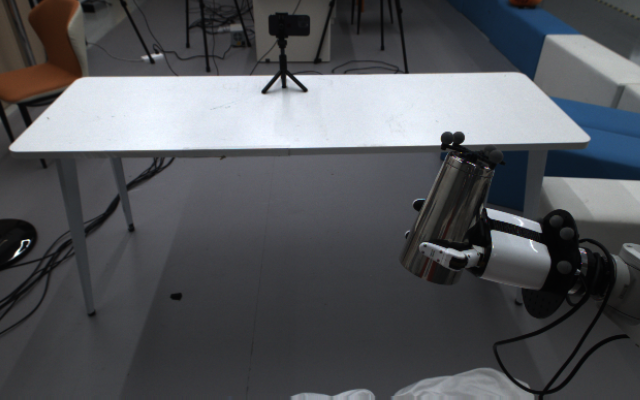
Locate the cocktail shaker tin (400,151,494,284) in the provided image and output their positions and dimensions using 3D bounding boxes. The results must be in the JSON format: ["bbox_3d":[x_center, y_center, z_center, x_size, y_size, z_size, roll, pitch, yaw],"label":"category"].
[{"bbox_3d":[0.183,0.022,0.683,0.093,0.170,0.093,14,20,-5],"label":"cocktail shaker tin"}]
